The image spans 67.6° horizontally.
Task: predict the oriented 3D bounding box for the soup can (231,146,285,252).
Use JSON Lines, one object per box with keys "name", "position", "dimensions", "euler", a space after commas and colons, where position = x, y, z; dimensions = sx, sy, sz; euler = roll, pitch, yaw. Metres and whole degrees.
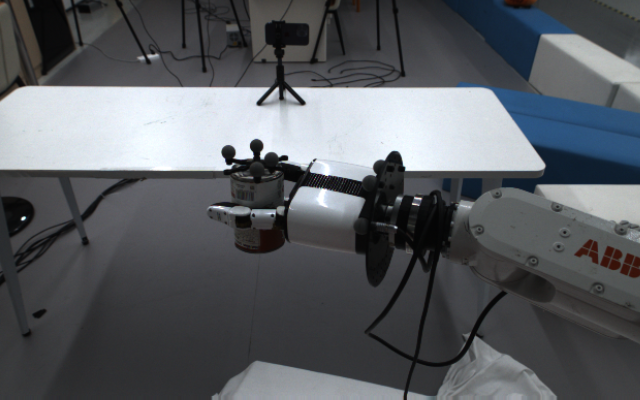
{"name": "soup can", "position": [-0.076, 0.009, 0.614], "dimensions": [0.067, 0.101, 0.067], "euler": [1, 25, 0]}
